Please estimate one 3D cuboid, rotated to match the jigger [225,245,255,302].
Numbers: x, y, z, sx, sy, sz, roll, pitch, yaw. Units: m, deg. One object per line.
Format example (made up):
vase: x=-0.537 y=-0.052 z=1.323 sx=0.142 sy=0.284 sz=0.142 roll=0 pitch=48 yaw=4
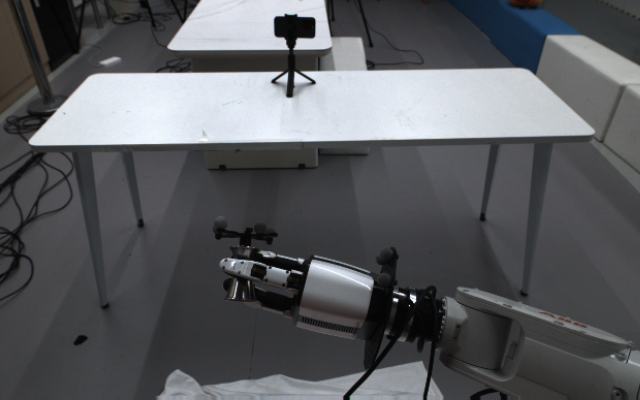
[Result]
jigger: x=-0.100 y=0.096 z=0.627 sx=0.043 sy=0.043 sz=0.071 roll=3 pitch=76 yaw=1
